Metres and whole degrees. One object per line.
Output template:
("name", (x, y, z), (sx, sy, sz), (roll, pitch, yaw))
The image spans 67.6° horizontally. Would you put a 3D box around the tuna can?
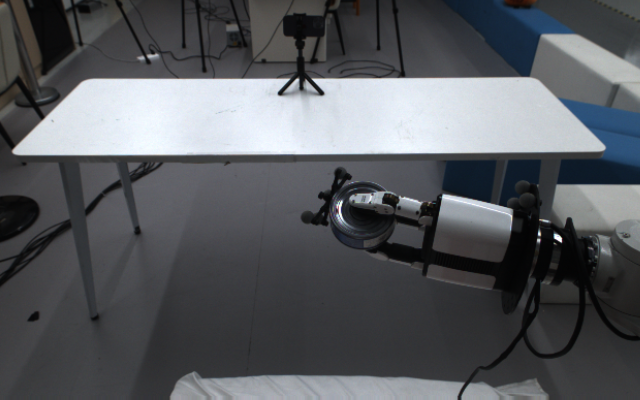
("tuna can", (0.058, 0.018, 0.624), (0.085, 0.034, 0.085), (-1, 61, 1))
